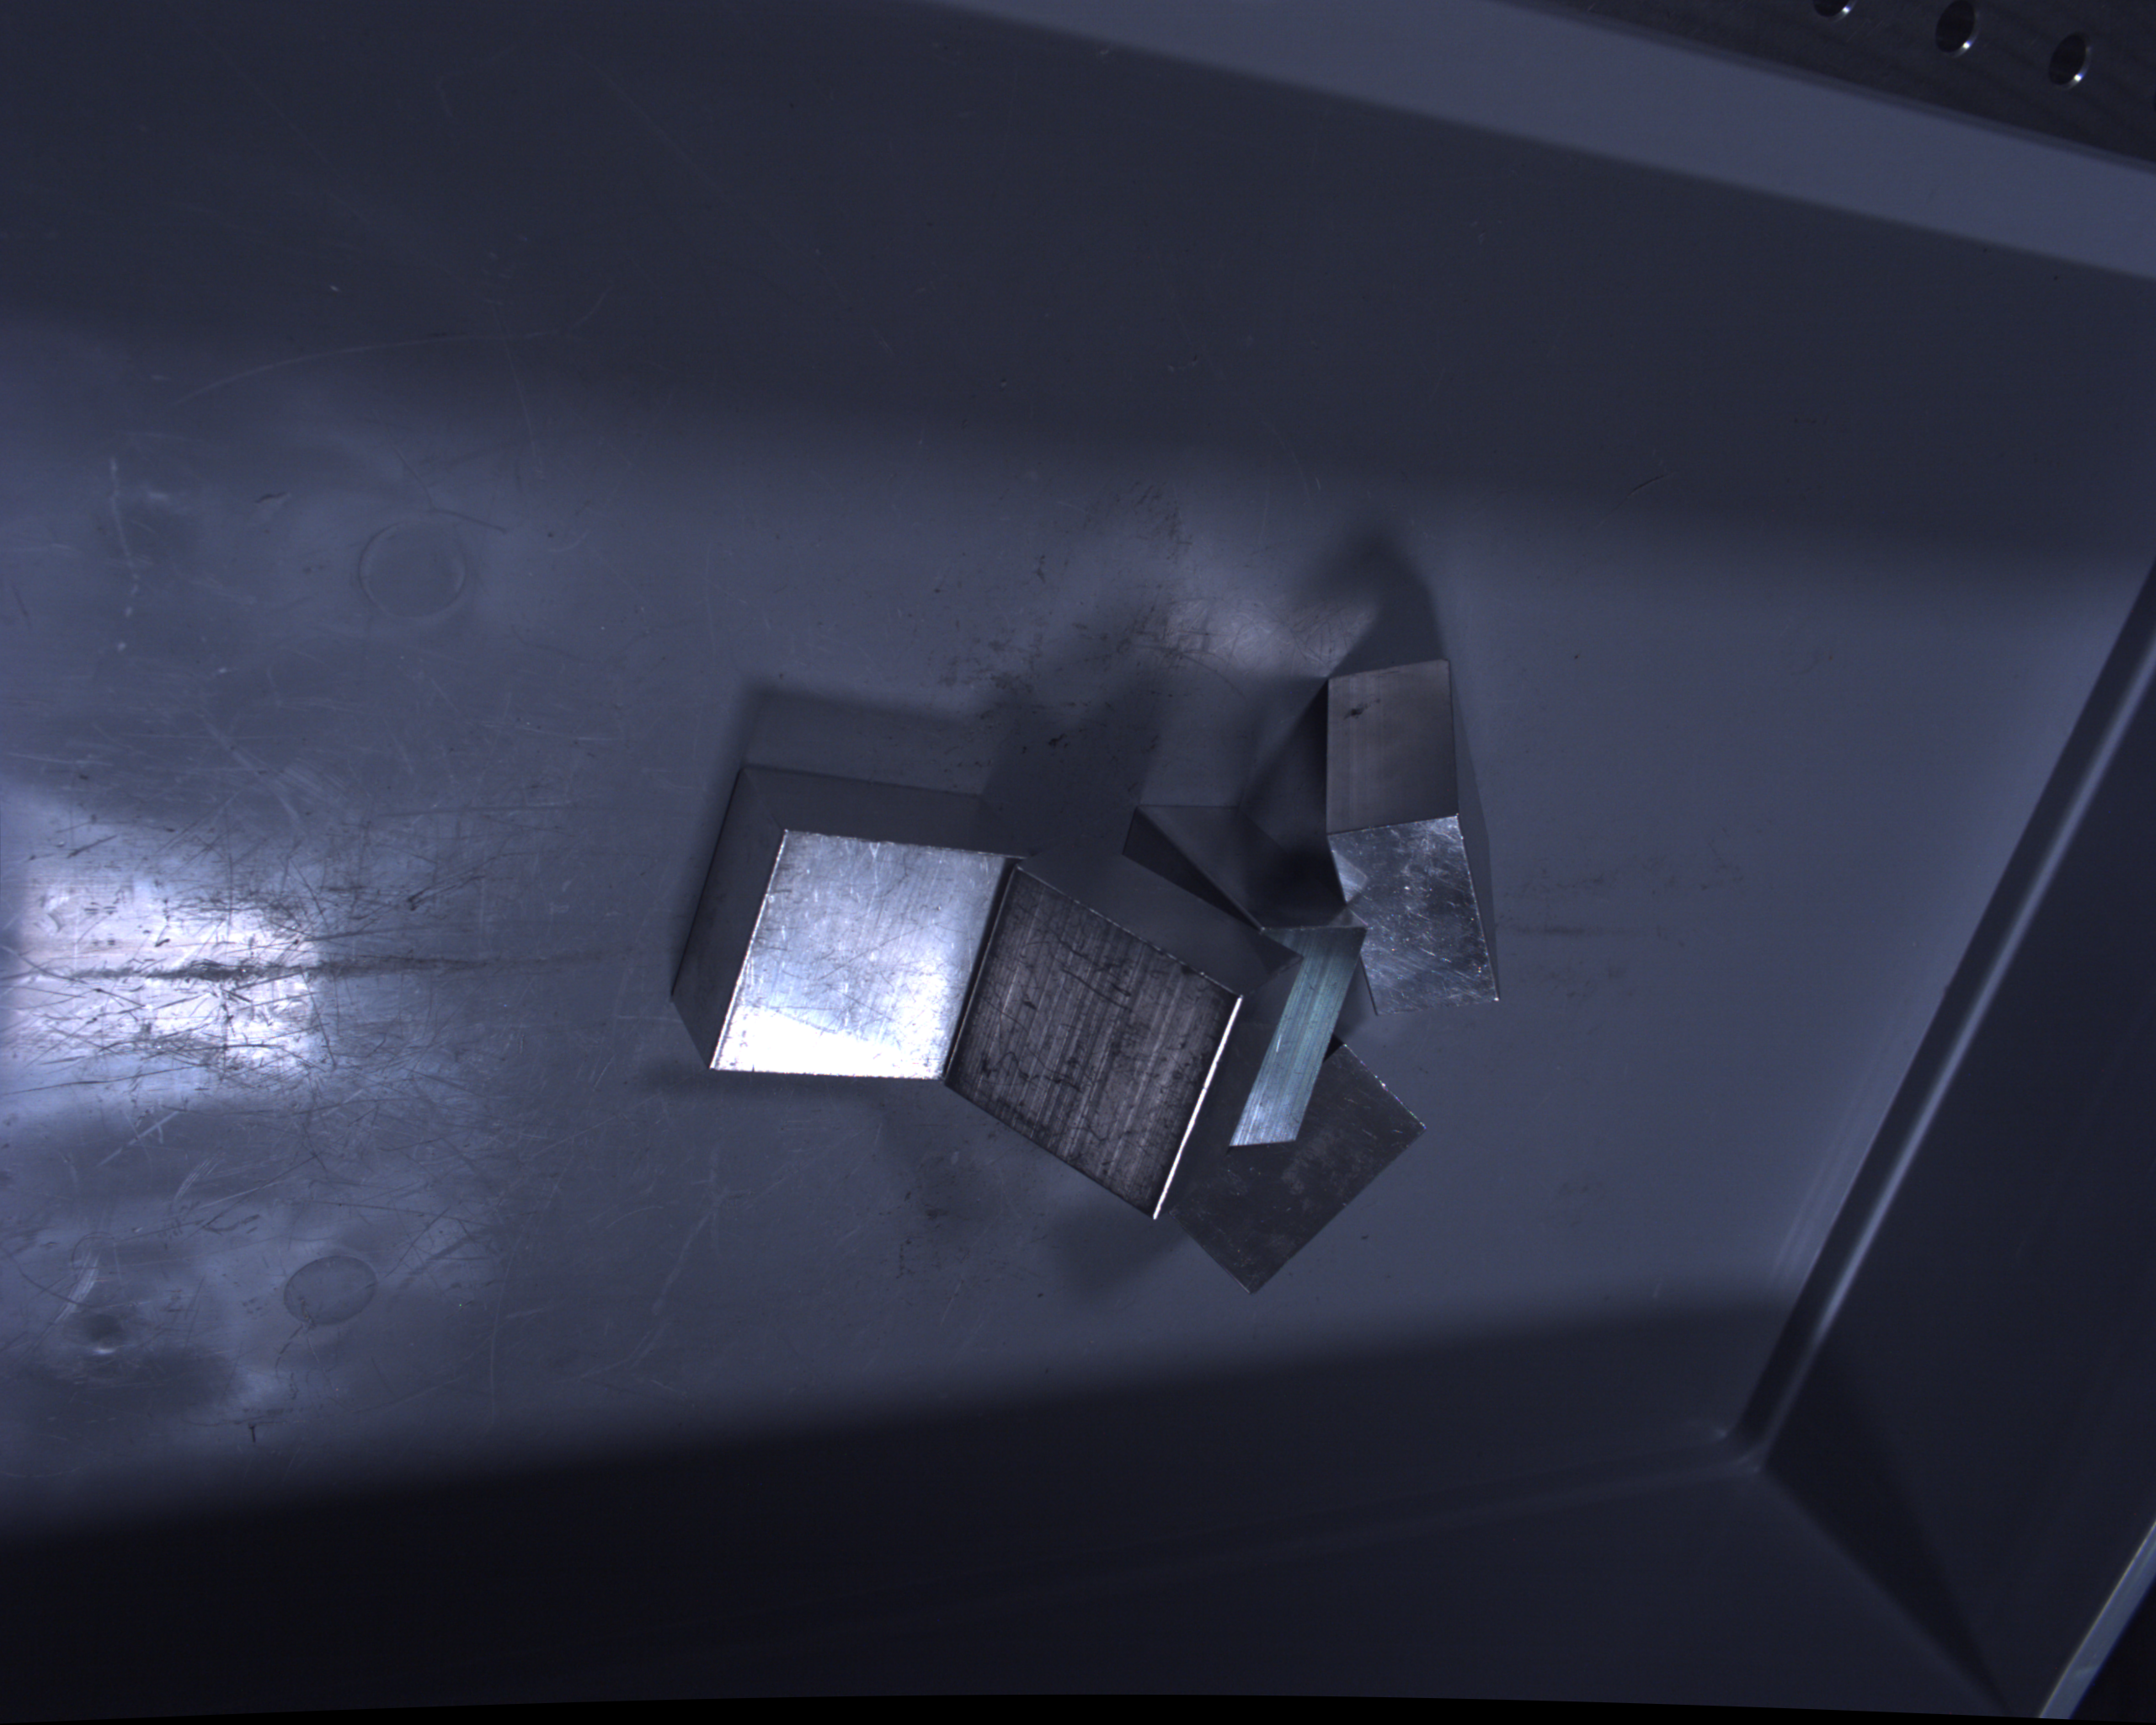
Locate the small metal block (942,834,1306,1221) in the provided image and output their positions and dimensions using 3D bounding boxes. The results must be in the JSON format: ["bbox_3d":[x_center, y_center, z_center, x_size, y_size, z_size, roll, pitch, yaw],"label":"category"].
[{"bbox_3d":[0.008,0.030,0.391,0.025,0.050,0.050,-24,139,-55],"label":"small metal block"}]

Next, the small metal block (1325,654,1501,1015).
[{"bbox_3d":[0.068,-0.006,0.423,0.025,0.050,0.050,-9,129,15],"label":"small metal block"}]

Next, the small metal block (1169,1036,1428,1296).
[{"bbox_3d":[0.044,0.061,0.451,0.050,0.050,0.025,-44,95,1],"label":"small metal block"}]

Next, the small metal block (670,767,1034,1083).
[{"bbox_3d":[-0.043,0.013,0.391,0.050,0.025,0.050,7,115,-32],"label":"small metal block"}]

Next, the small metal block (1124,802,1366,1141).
[{"bbox_3d":[0.027,0.022,0.421,0.025,0.050,0.050,1,118,-29],"label":"small metal block"}]
